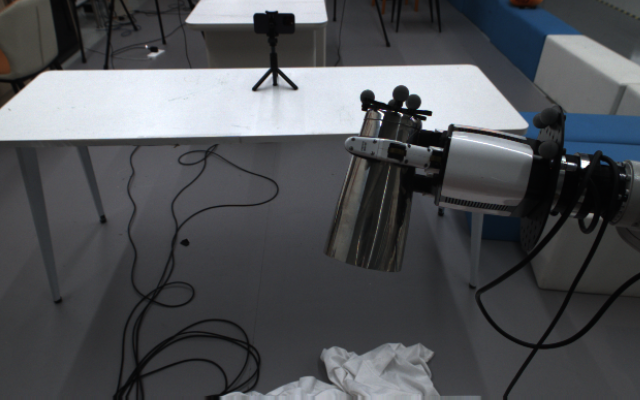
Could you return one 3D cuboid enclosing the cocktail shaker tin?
[{"bbox_3d":[0.069,-0.015,0.560,0.093,0.170,0.093,12,3,-1],"label":"cocktail shaker tin"}]
